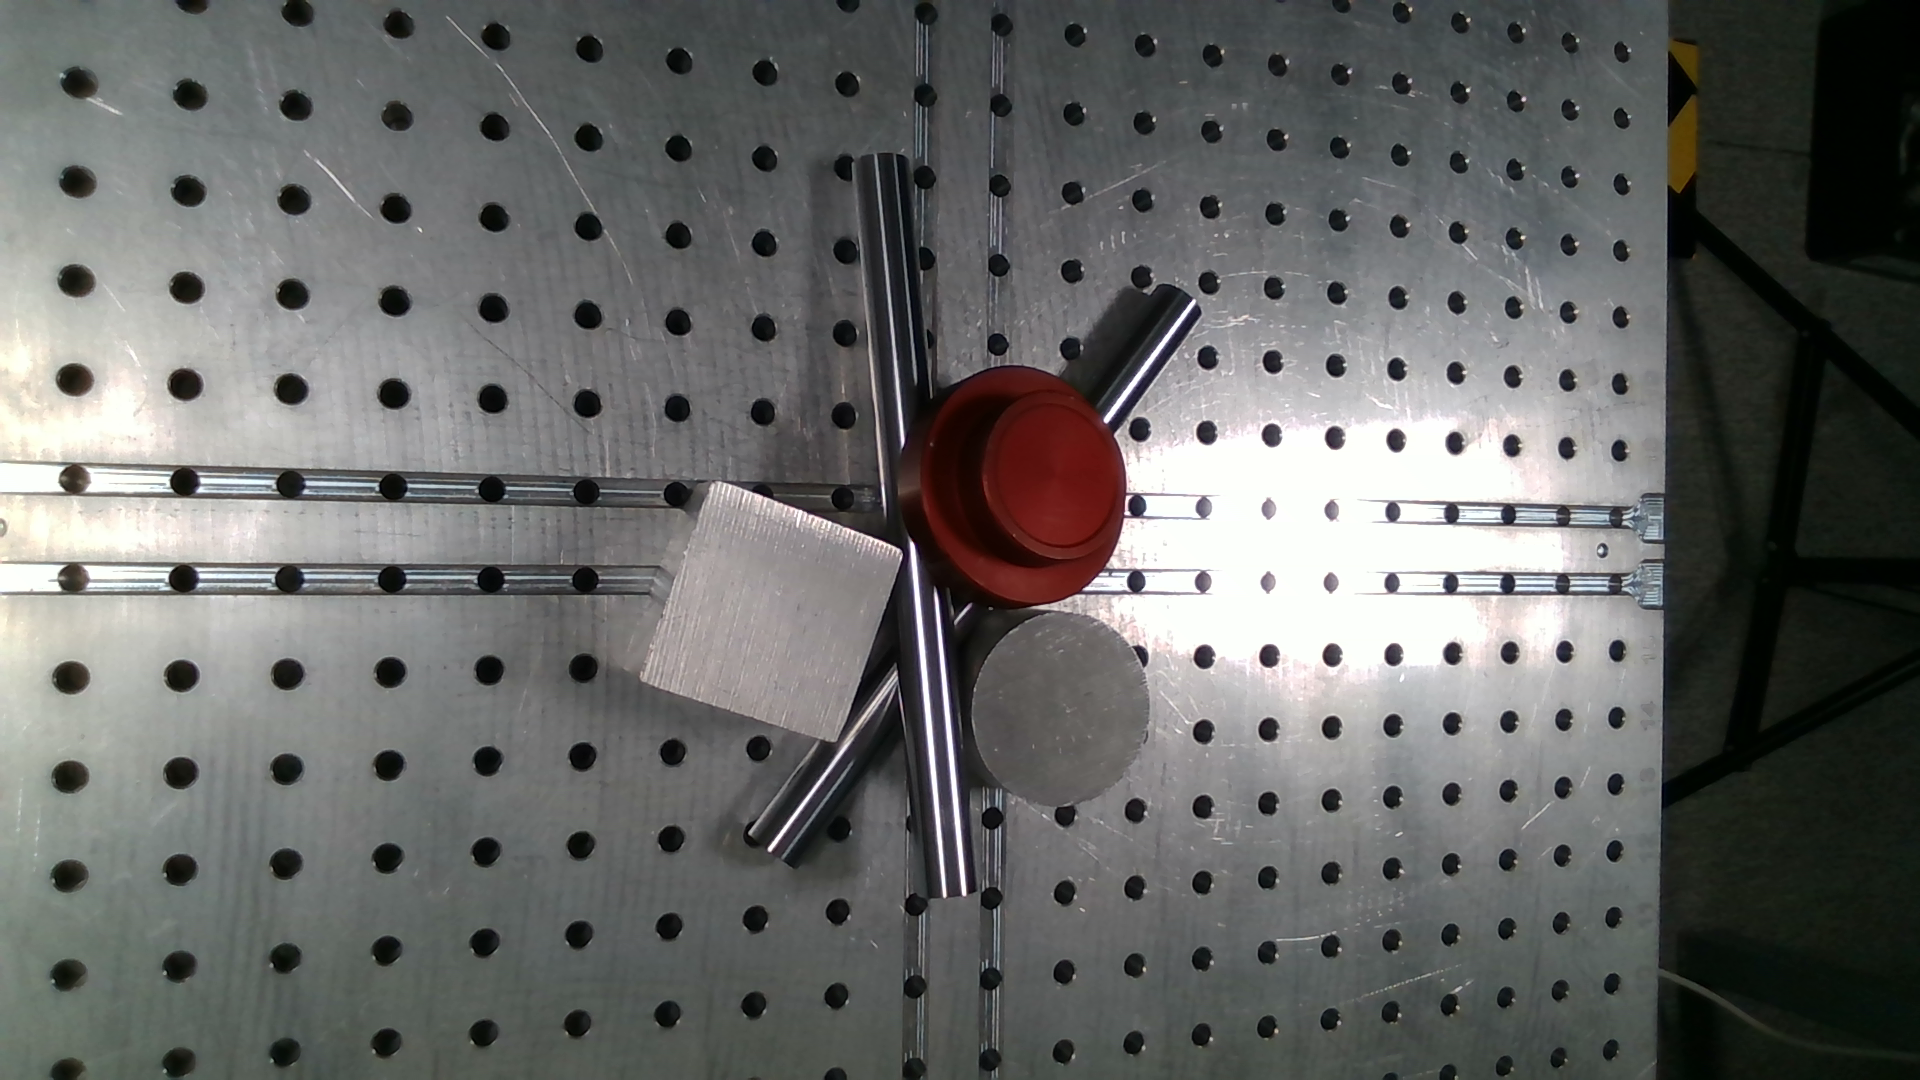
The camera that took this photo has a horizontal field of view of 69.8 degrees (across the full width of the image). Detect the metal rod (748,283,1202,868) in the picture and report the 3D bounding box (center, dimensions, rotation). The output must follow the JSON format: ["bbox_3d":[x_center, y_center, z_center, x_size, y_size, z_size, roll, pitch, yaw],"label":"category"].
[{"bbox_3d":[0.011,0.009,0.593,0.025,0.025,0.300,40,77,-16],"label":"metal rod"}]

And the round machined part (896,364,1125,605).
[{"bbox_3d":[0.027,-0.023,0.553,0.098,0.042,0.098,4,82,-29],"label":"round machined part"}]

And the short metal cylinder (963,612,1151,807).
[{"bbox_3d":[0.034,0.070,0.587,0.080,0.050,0.080,0,90,-20],"label":"short metal cylinder"}]

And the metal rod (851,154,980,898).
[{"bbox_3d":[-0.019,-0.008,0.562,0.025,0.025,0.300,-4,84,-20],"label":"metal rod"}]

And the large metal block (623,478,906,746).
[{"bbox_3d":[-0.078,0.028,0.544,0.080,0.050,0.080,21,83,-19],"label":"large metal block"}]
